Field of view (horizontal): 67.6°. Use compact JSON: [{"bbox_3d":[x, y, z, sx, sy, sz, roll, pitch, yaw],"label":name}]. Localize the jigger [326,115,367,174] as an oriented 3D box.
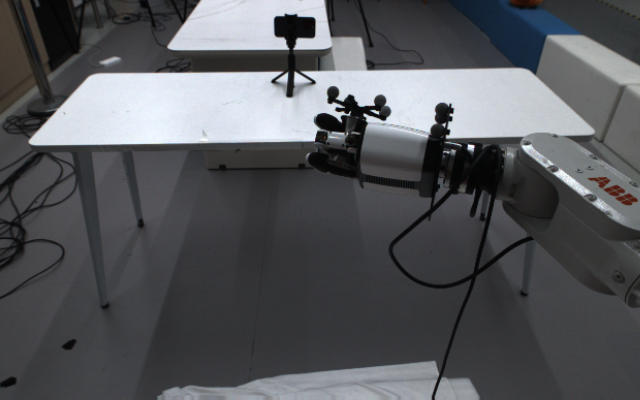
[{"bbox_3d":[0.042,-0.081,0.686,0.043,0.071,0.043,16,-7,2],"label":"jigger"}]
